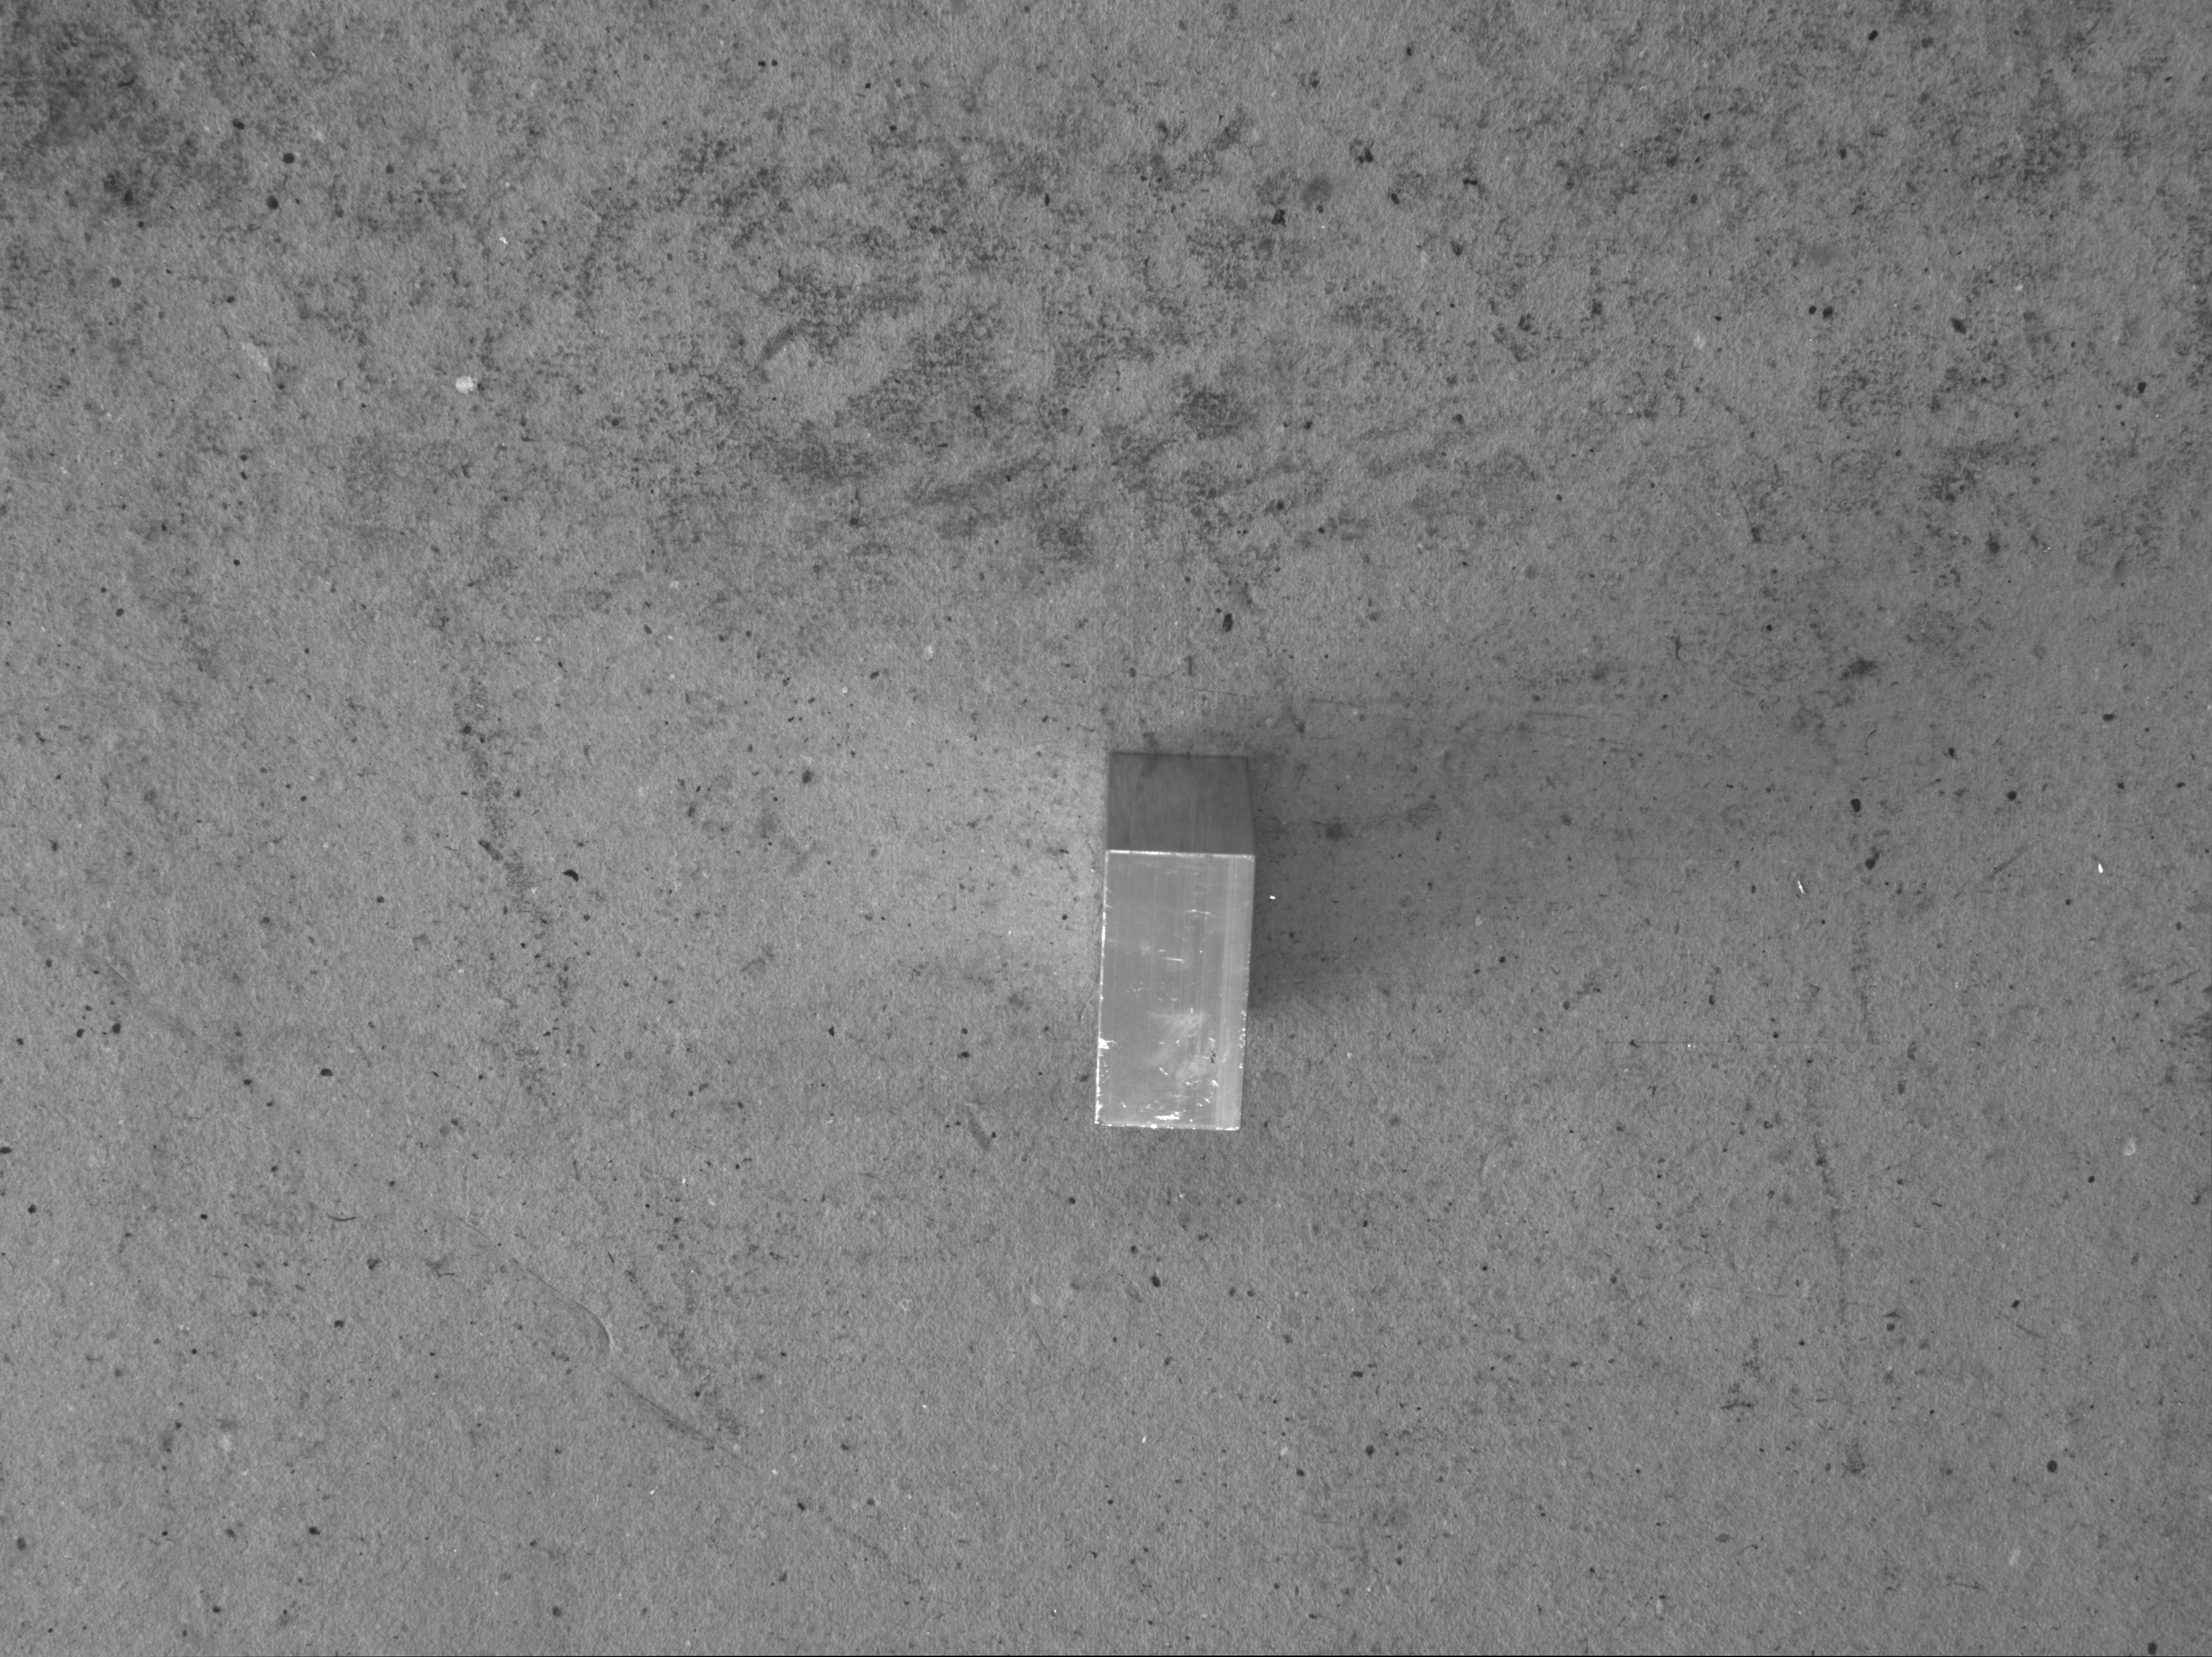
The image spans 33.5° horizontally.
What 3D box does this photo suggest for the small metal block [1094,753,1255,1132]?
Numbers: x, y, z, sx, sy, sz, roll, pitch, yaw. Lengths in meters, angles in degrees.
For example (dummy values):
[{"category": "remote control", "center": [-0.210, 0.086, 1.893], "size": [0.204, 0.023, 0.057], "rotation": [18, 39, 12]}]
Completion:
[{"category": "small metal block", "center": [0.011, 0.019, 0.638], "size": [0.025, 0.050, 0.050], "rotation": [2, 110, -1]}]
